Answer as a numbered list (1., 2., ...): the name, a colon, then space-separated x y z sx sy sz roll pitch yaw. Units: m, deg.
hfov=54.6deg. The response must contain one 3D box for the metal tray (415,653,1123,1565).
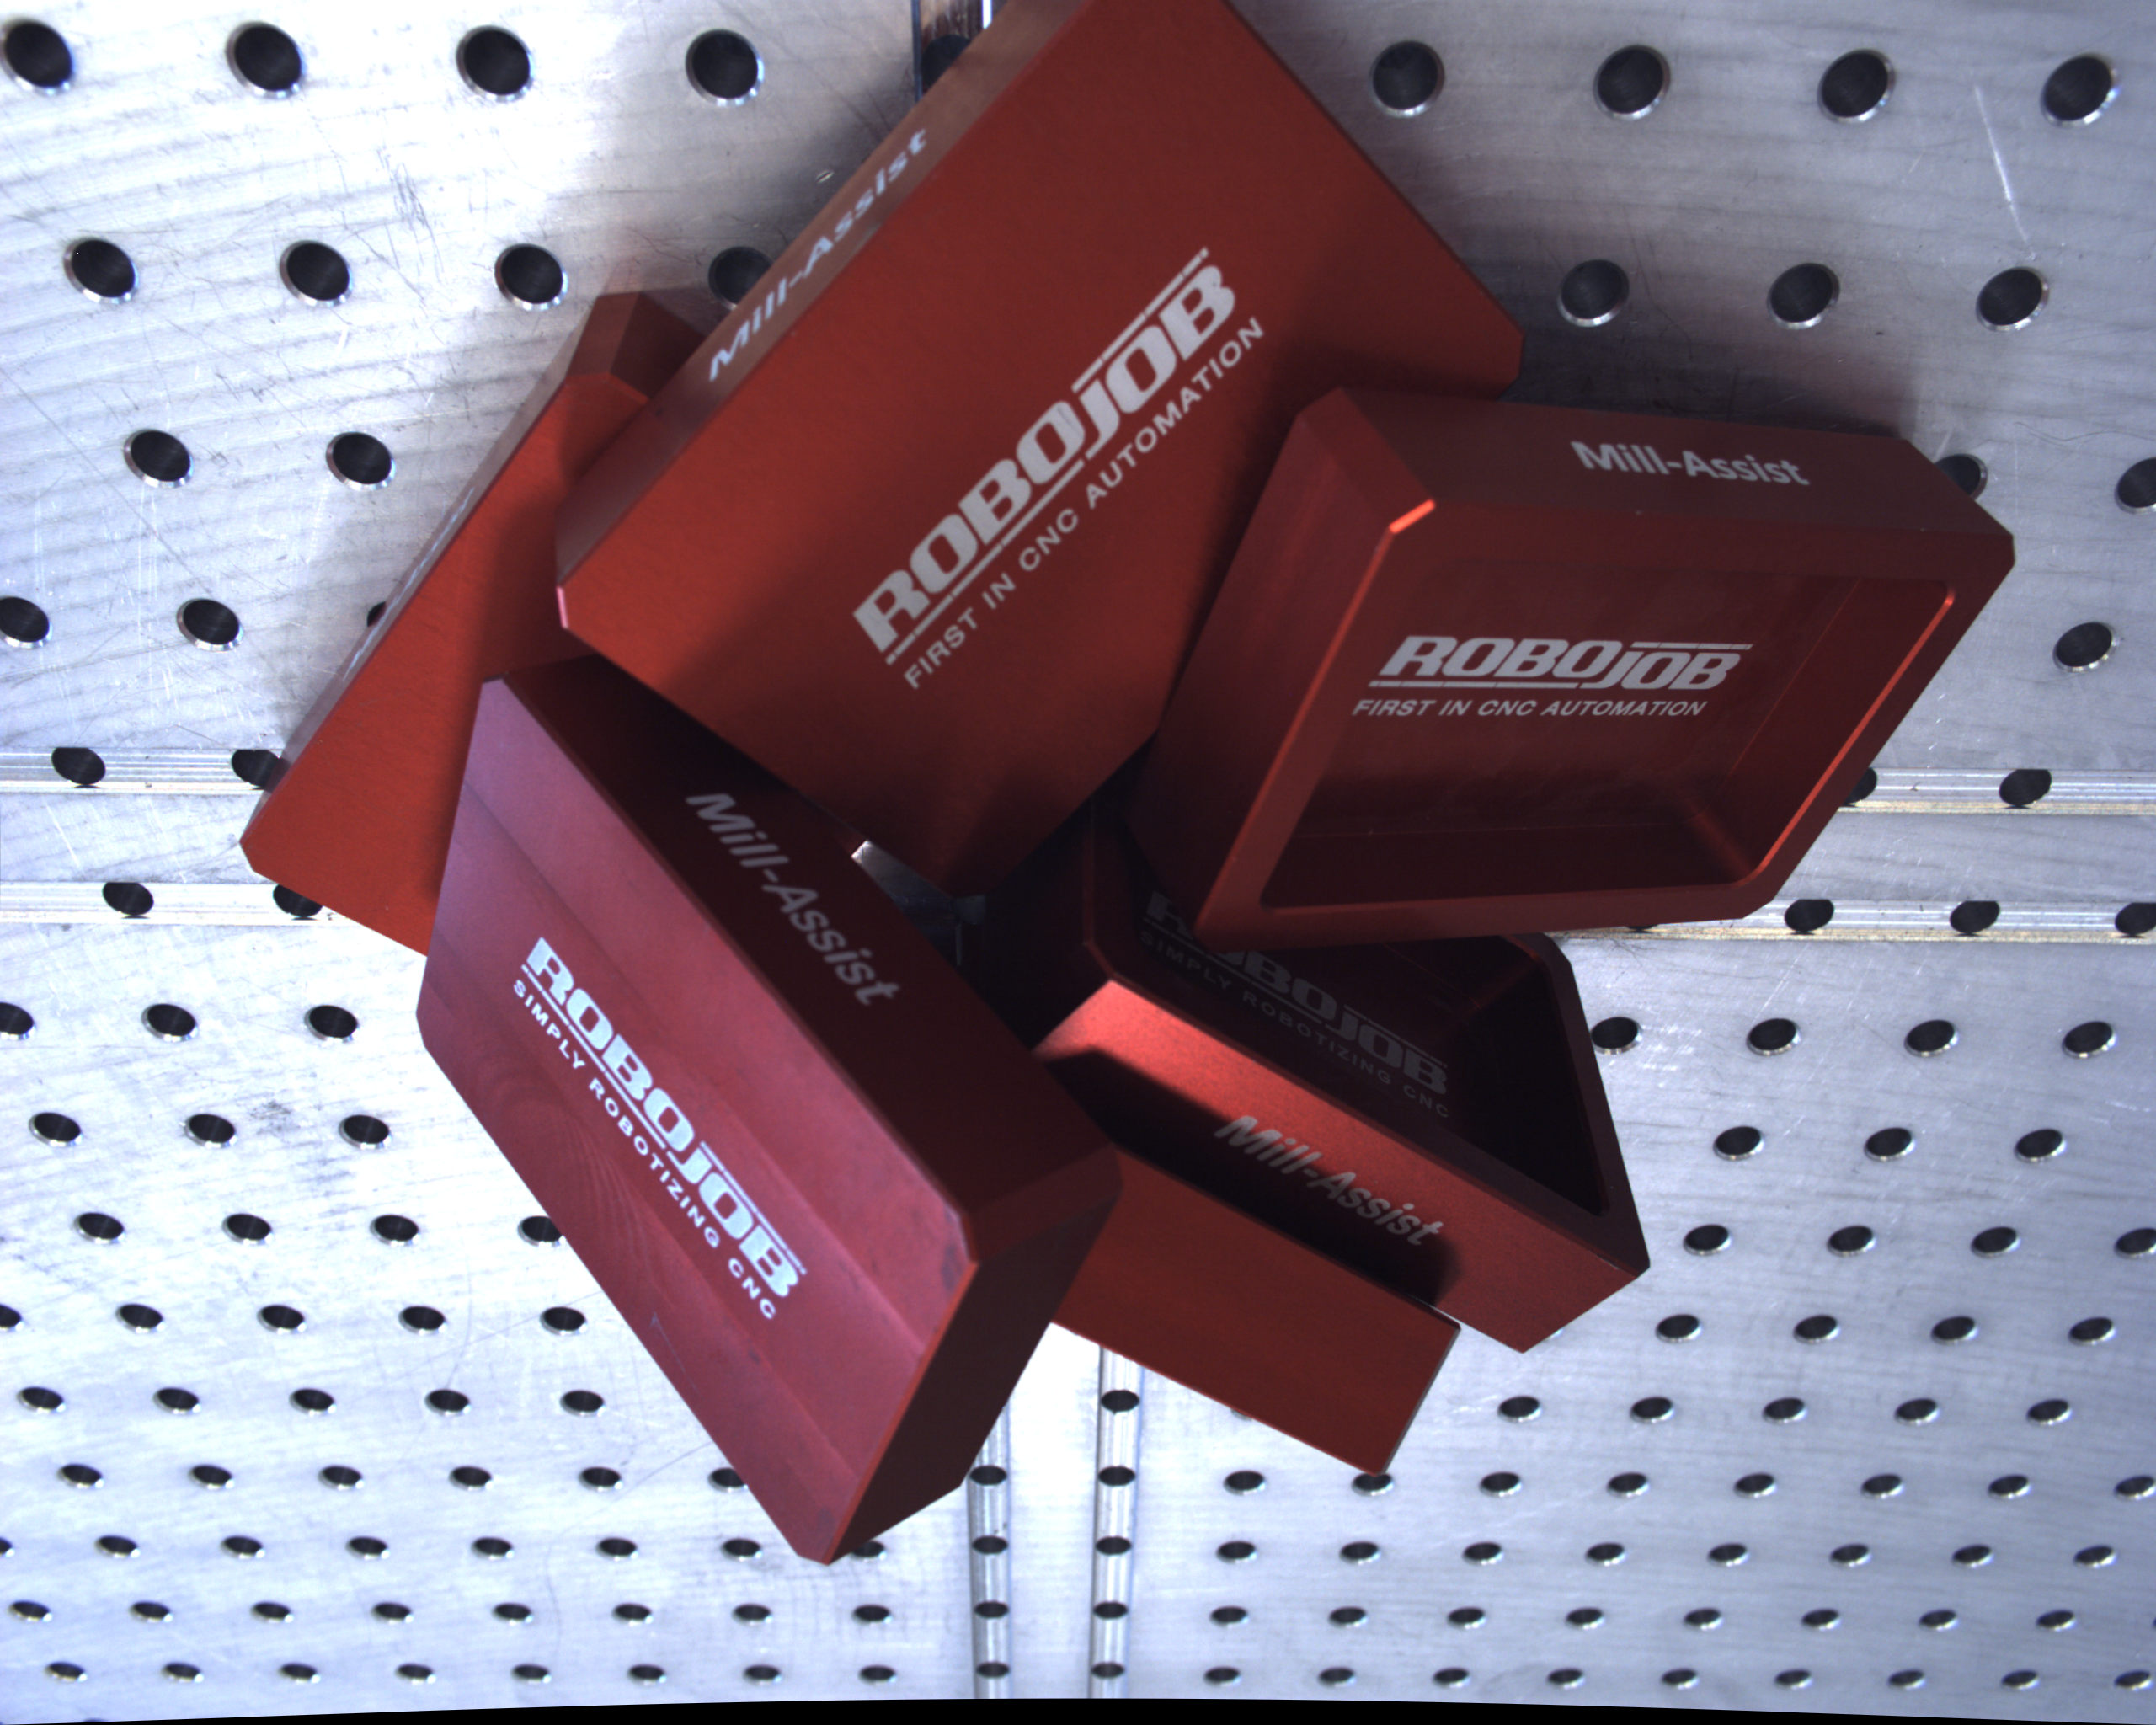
1. metal tray: -0.058 0.037 0.343 0.030 0.130 0.089 -20 145 -42

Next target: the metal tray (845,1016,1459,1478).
1. metal tray: 0.002 0.066 0.405 0.090 0.130 0.030 31 85 -24

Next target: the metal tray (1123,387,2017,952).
1. metal tray: 0.083 -0.029 0.352 0.131 0.030 0.089 -2 135 -29

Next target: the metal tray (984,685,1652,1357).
1. metal tray: 0.044 0.026 0.390 0.130 0.090 0.030 31 123 -24

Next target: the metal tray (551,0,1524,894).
1. metal tray: -0.007 -0.066 0.327 0.130 0.030 0.090 -44 122 14

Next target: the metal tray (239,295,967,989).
1. metal tray: -0.082 -0.028 0.384 0.090 0.030 0.129 31 124 -25
